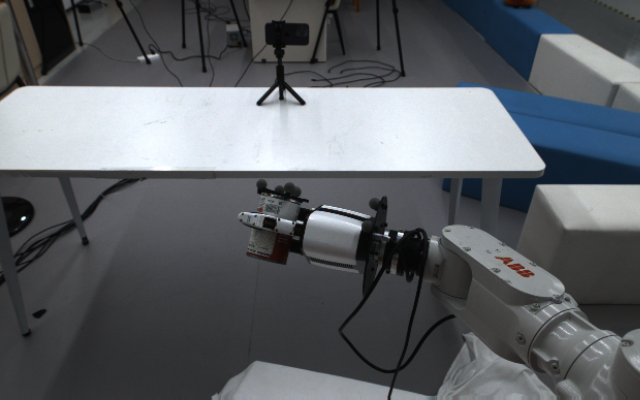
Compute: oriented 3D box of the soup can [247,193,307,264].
[{"bbox_3d":[-0.073,0.048,0.770,0.067,0.101,0.067,13,-6,1],"label":"soup can"}]
